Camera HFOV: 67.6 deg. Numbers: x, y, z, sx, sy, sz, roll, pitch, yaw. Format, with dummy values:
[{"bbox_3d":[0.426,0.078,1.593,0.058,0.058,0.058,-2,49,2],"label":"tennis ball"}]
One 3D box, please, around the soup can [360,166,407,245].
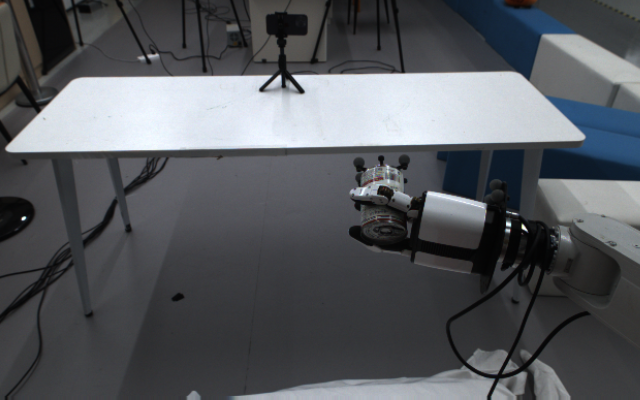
[{"bbox_3d":[0.094,0.007,0.717,0.067,0.067,0.101,3,57,1],"label":"soup can"}]
